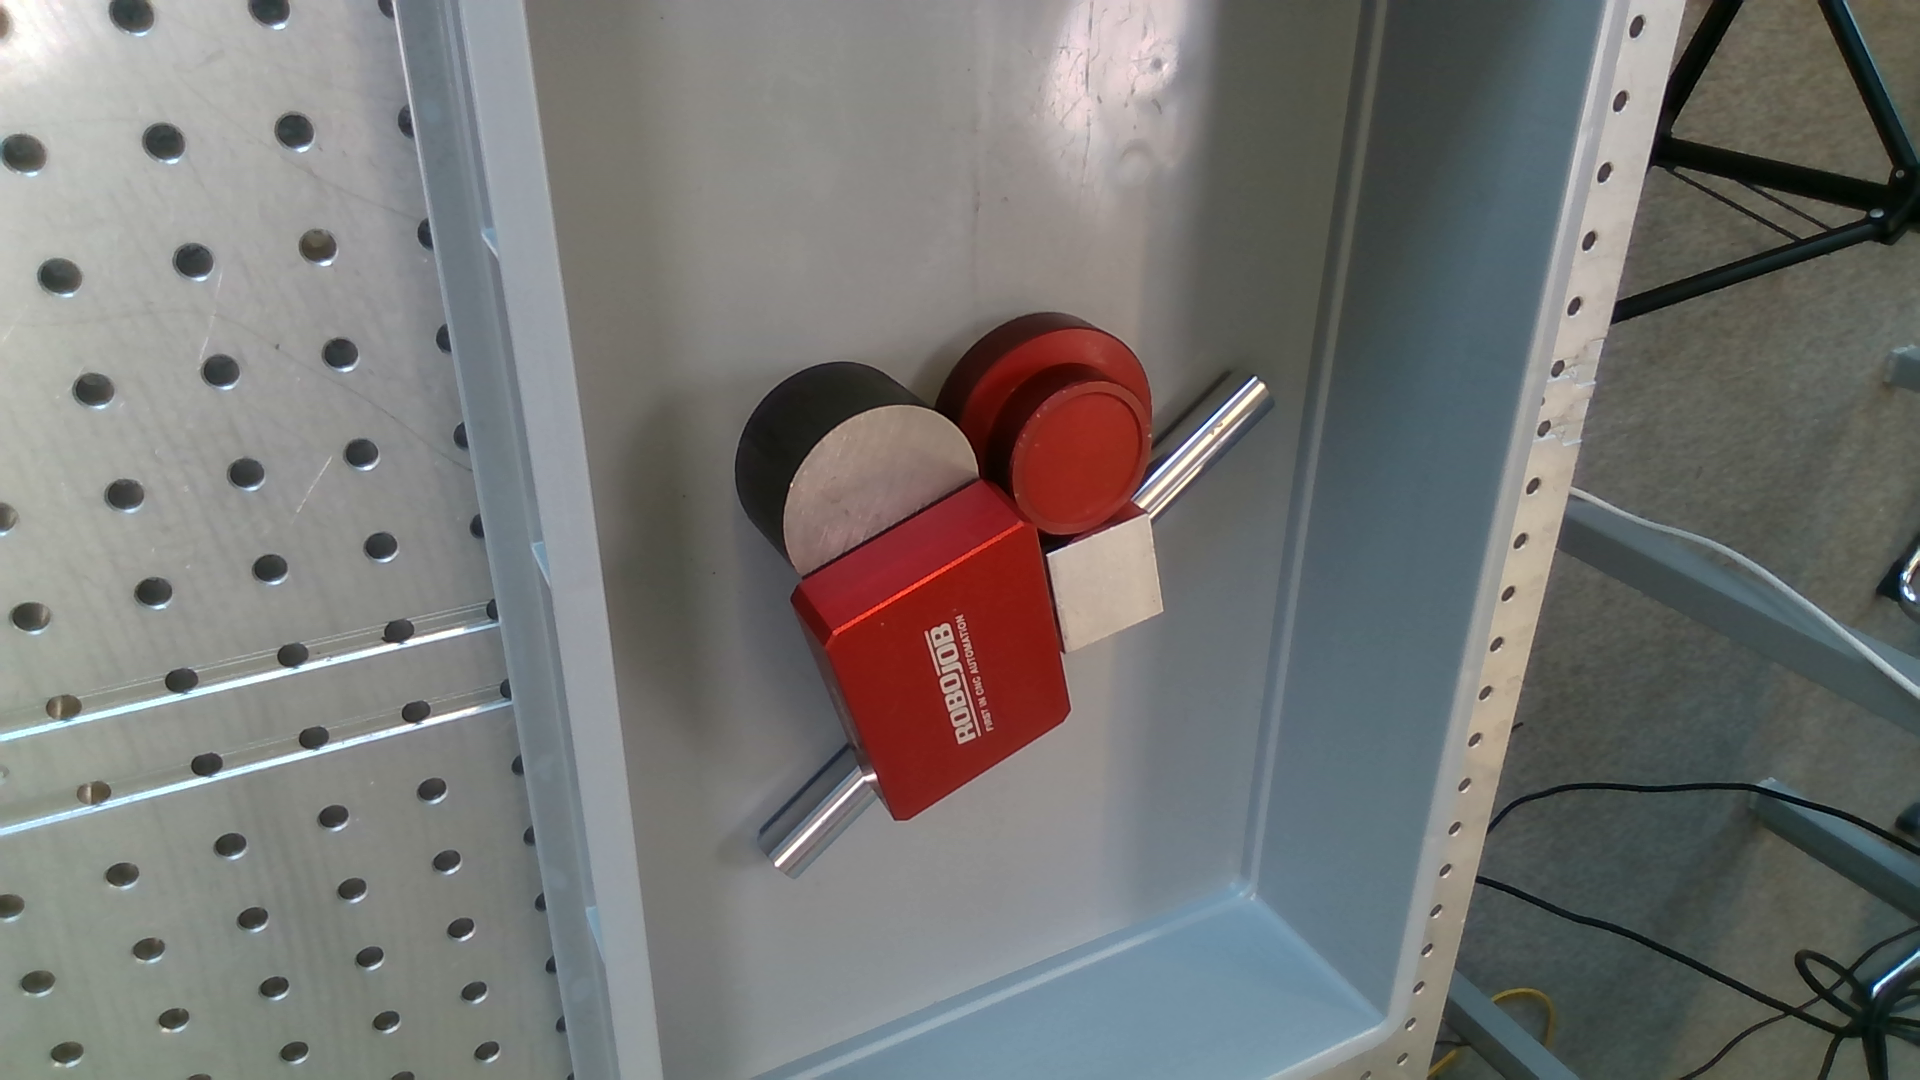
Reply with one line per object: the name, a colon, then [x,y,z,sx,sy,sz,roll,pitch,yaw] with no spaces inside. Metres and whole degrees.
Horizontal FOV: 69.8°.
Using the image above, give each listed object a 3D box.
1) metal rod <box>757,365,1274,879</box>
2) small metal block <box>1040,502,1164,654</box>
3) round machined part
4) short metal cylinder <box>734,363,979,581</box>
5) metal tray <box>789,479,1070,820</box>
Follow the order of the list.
metal rod: [0.026,0.035,0.615,0.300,0.025,0.025,-45,129,-3]
small metal block: [0.057,0.014,0.592,0.050,0.025,0.050,-22,119,-17]
round machined part: [0.041,-0.041,0.570,0.098,0.042,0.098,-14,120,-25]
short metal cylinder: [-0.040,-0.022,0.527,0.080,0.050,0.080,-14,122,-25]
metal tray: [-0.007,0.047,0.548,0.090,0.030,0.130,-30,140,-14]
